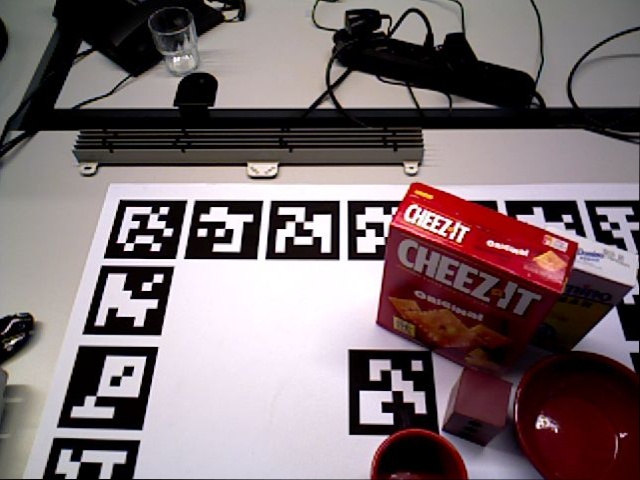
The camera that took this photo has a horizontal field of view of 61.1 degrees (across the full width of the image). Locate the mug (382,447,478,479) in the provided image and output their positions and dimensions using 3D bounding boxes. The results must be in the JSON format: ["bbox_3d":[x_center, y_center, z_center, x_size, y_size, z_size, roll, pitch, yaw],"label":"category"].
[{"bbox_3d":[0.090,0.259,0.514,0.116,0.083,0.092,-7,49,-1],"label":"mug"}]

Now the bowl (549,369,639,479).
[{"bbox_3d":[0.296,0.214,0.541,0.161,0.056,0.159,-1,58,1],"label":"bowl"}]

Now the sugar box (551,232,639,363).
[{"bbox_3d":[0.272,0.064,0.578,0.093,0.180,0.044,19,59,14],"label":"sugar box"}]

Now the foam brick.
[{"bbox_3d":[0.175,0.188,0.568,0.053,0.079,0.050,14,57,11],"label":"foam brick"}]

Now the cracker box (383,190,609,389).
[{"bbox_3d":[0.161,0.064,0.562,0.164,0.218,0.070,27,59,17],"label":"cracker box"}]
